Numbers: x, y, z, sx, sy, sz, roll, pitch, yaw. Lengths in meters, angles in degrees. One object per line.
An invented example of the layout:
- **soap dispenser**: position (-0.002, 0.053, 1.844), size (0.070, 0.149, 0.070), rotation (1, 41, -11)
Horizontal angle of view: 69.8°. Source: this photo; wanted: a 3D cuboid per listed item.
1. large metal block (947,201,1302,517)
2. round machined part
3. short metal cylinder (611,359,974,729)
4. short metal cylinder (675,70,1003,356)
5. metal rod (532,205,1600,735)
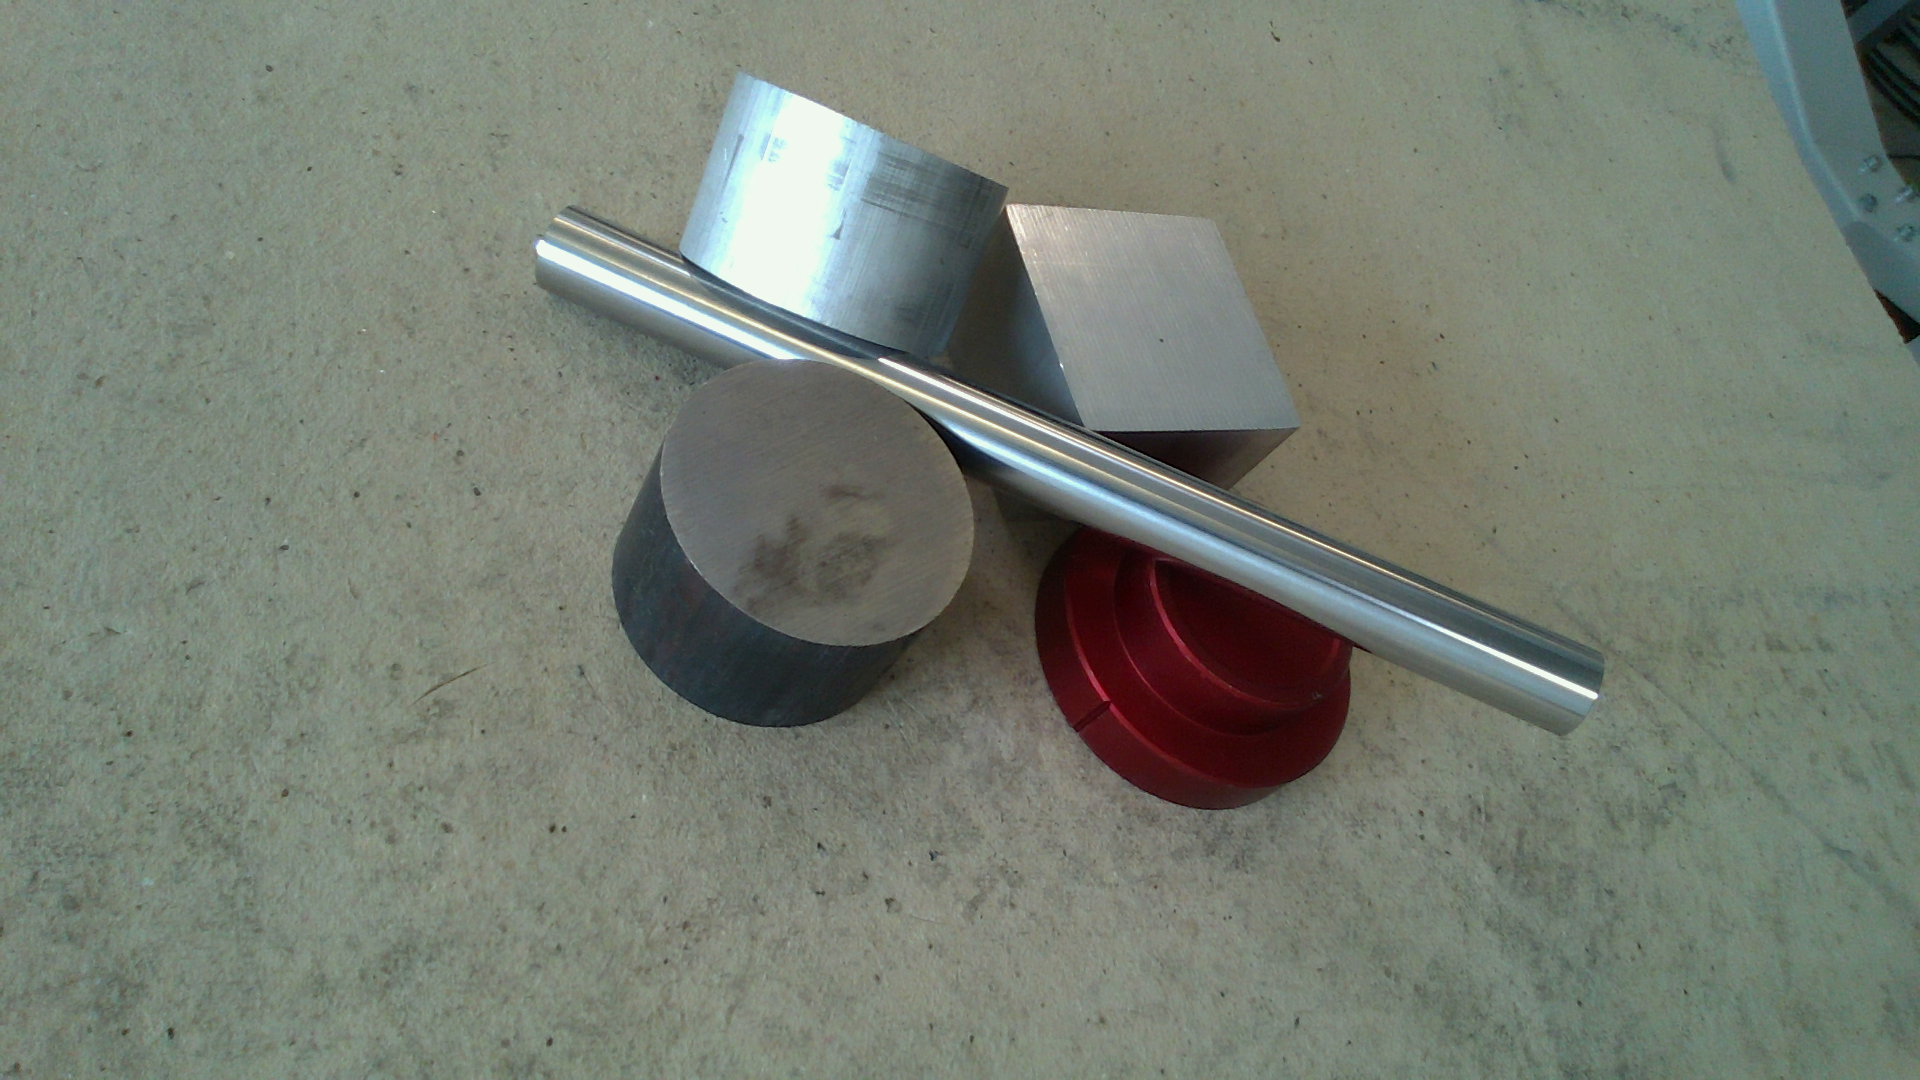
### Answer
- **large metal block**: position (0.048, -0.056, 0.431), size (0.080, 0.050, 0.080), rotation (-3, 63, -30)
- **round machined part**: position (0.075, 0.026, 0.402), size (0.098, 0.042, 0.098), rotation (14, 56, -21)
- **short metal cylinder**: position (-0.043, 0.001, 0.351), size (0.080, 0.050, 0.080), rotation (14, 56, -21)
- **short metal cylinder**: position (-0.034, -0.091, 0.387), size (0.080, 0.050, 0.080), rotation (22, 14, -5)
- **metal rod**: position (0.026, -0.020, 0.372), size (0.300, 0.025, 0.025), rotation (24, 52, 3)
